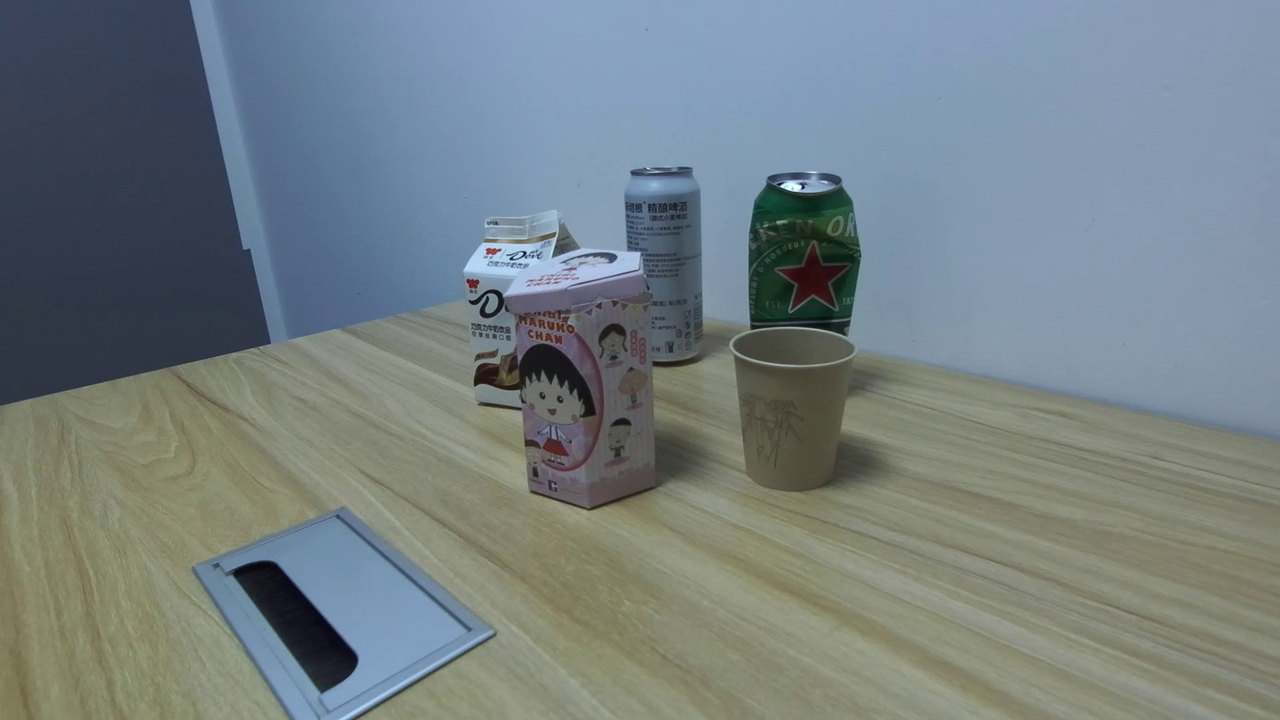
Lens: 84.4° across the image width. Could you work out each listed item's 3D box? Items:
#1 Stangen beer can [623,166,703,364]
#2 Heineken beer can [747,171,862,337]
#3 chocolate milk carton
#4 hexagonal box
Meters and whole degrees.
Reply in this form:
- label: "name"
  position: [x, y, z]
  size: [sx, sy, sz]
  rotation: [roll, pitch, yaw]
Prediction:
- label: "Stangen beer can"
  position: [0.022, -0.083, 0.630]
  size: [0.067, 0.171, 0.067]
  rotation: [-2, 16, 1]
- label: "Heineken beer can"
  position: [0.119, -0.051, 0.527]
  size: [0.068, 0.168, 0.069]
  rotation: [16, 29, 38]
- label: "chocolate milk carton"
  position: [-0.086, -0.045, 0.565]
  size: [0.075, 0.148, 0.074]
  rotation: [9, 25, 23]
- label: "hexagonal box"
  position: [-0.031, 0.008, 0.428]
  size: [0.091, 0.135, 0.085]
  rotation: [10, 23, 31]
